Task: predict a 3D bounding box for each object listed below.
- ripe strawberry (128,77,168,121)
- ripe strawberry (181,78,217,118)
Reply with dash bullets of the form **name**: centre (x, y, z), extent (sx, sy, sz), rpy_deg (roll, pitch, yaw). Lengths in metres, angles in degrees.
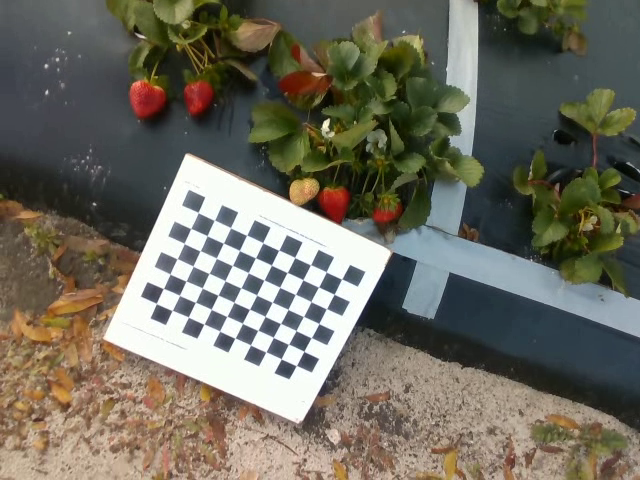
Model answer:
- **ripe strawberry**: centre (-0.228, -0.188, 0.850), extent (0.050, 0.061, 0.045), rpy_deg (15, -26, 0)
- **ripe strawberry**: centre (-0.162, -0.195, 0.856), extent (0.042, 0.053, 0.034), rpy_deg (10, -22, 1)
